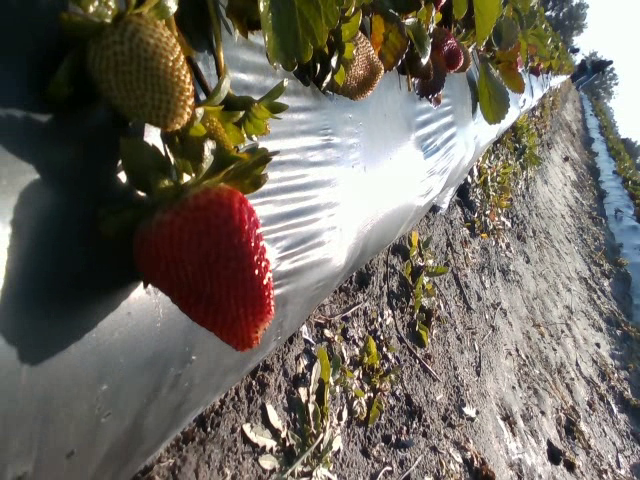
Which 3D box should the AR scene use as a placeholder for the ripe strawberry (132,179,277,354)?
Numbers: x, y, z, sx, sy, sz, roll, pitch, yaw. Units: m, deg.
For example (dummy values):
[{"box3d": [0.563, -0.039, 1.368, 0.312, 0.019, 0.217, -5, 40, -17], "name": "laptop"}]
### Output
[{"box3d": [-0.034, 0.010, 0.180, 0.042, 0.058, 0.042, -20, -11, 11], "name": "ripe strawberry"}]
